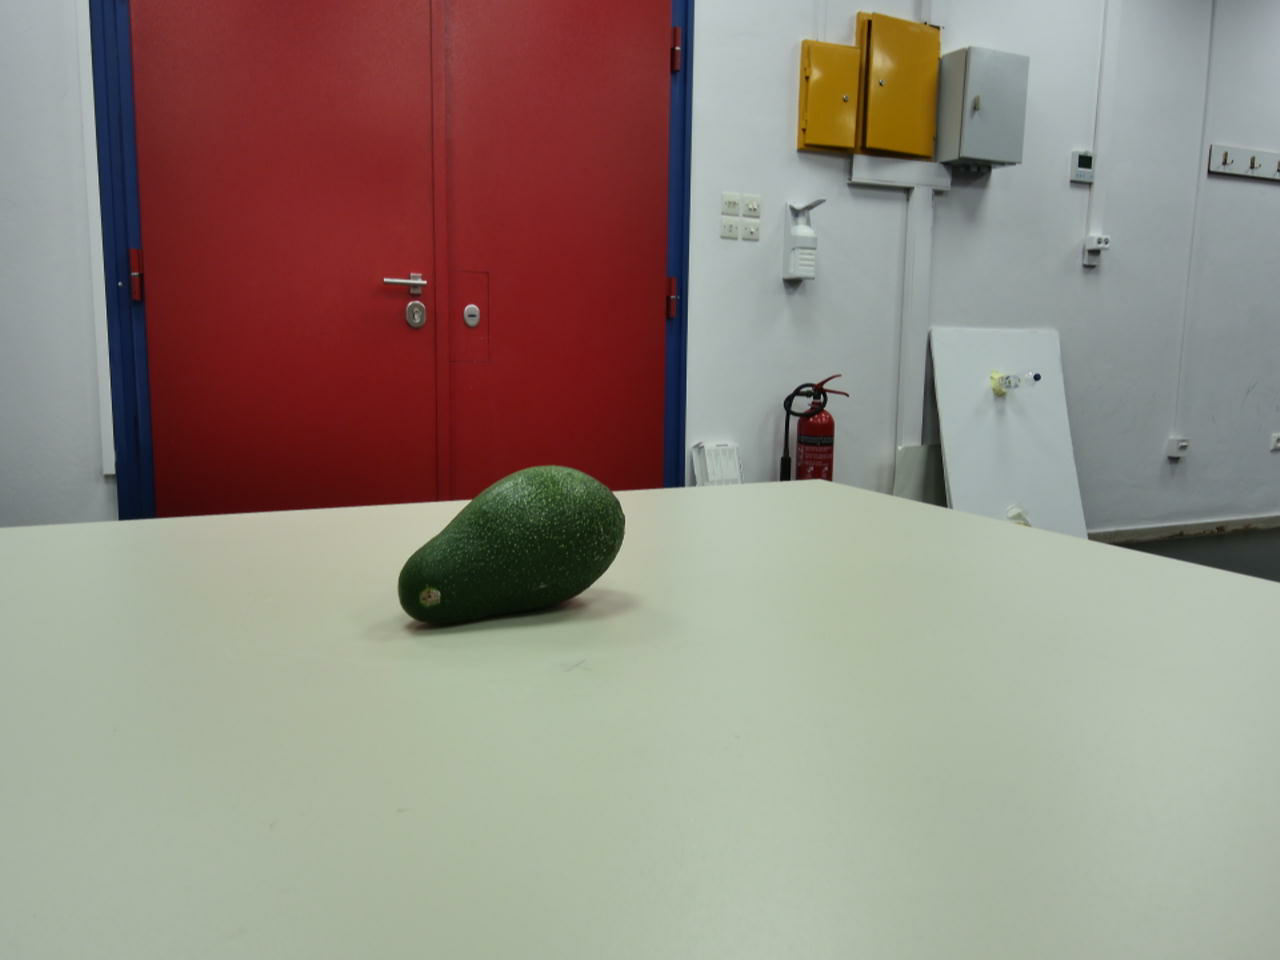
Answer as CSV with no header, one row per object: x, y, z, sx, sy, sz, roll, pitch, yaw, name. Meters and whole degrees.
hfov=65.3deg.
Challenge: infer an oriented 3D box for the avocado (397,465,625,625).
-0.067,0.030,0.524,0.123,0.076,0.074,-2,7,-19,avocado
